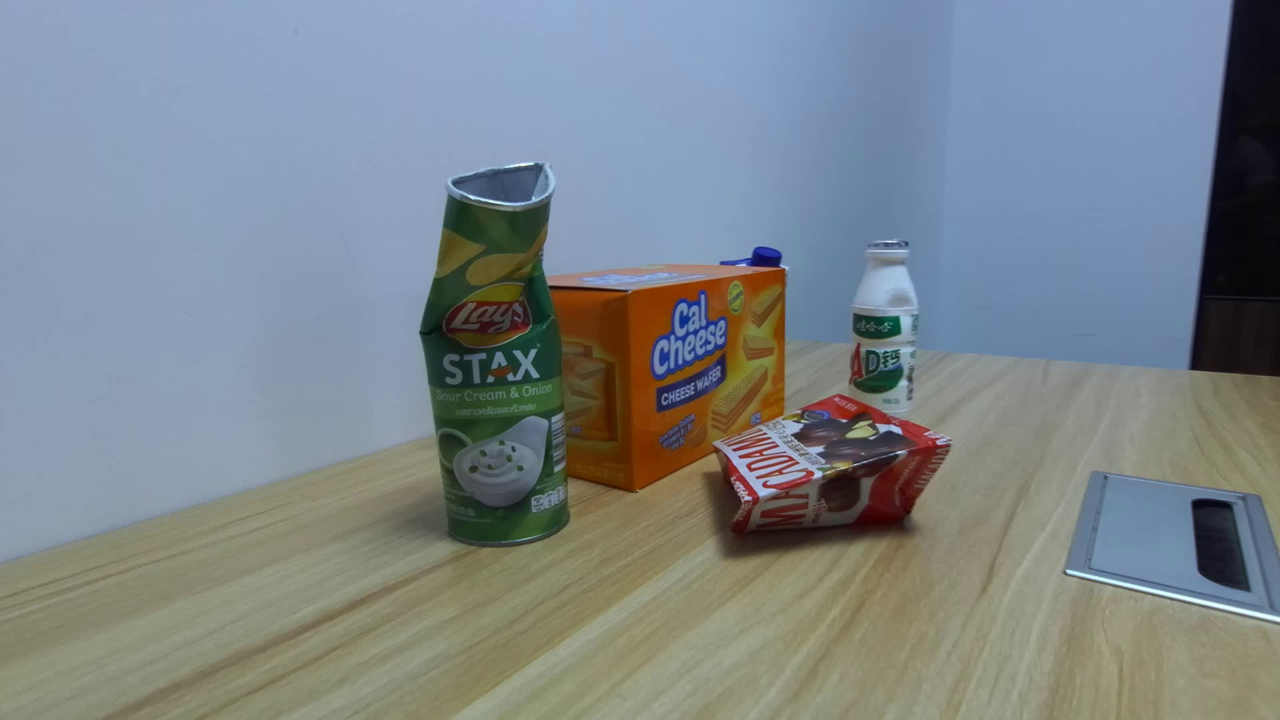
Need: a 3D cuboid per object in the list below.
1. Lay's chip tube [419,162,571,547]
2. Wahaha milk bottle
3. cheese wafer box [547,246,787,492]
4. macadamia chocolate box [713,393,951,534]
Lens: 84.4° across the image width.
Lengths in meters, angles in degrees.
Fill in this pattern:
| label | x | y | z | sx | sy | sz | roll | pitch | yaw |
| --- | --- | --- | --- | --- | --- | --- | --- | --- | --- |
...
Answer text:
| label | x | y | z | sx | sy | sz | roll | pitch | yaw |
| --- | --- | --- | --- | --- | --- | --- | --- | --- | --- |
| Lay's chip tube | -0.070 | -0.001 | 0.374 | 0.079 | 0.199 | 0.070 | -11 | 22 | -36 |
| Wahaha milk bottle | 0.199 | -0.018 | 0.573 | 0.053 | 0.136 | 0.053 | -1 | 12 | 1 |
| cheese wafer box | 0.002 | -0.002 | 0.549 | 0.147 | 0.129 | 0.223 | 6 | 13 | 36 |
| macadamia chocolate box | 0.095 | 0.058 | 0.407 | 0.112 | 0.056 | 0.126 | -2 | 10 | -9 |
